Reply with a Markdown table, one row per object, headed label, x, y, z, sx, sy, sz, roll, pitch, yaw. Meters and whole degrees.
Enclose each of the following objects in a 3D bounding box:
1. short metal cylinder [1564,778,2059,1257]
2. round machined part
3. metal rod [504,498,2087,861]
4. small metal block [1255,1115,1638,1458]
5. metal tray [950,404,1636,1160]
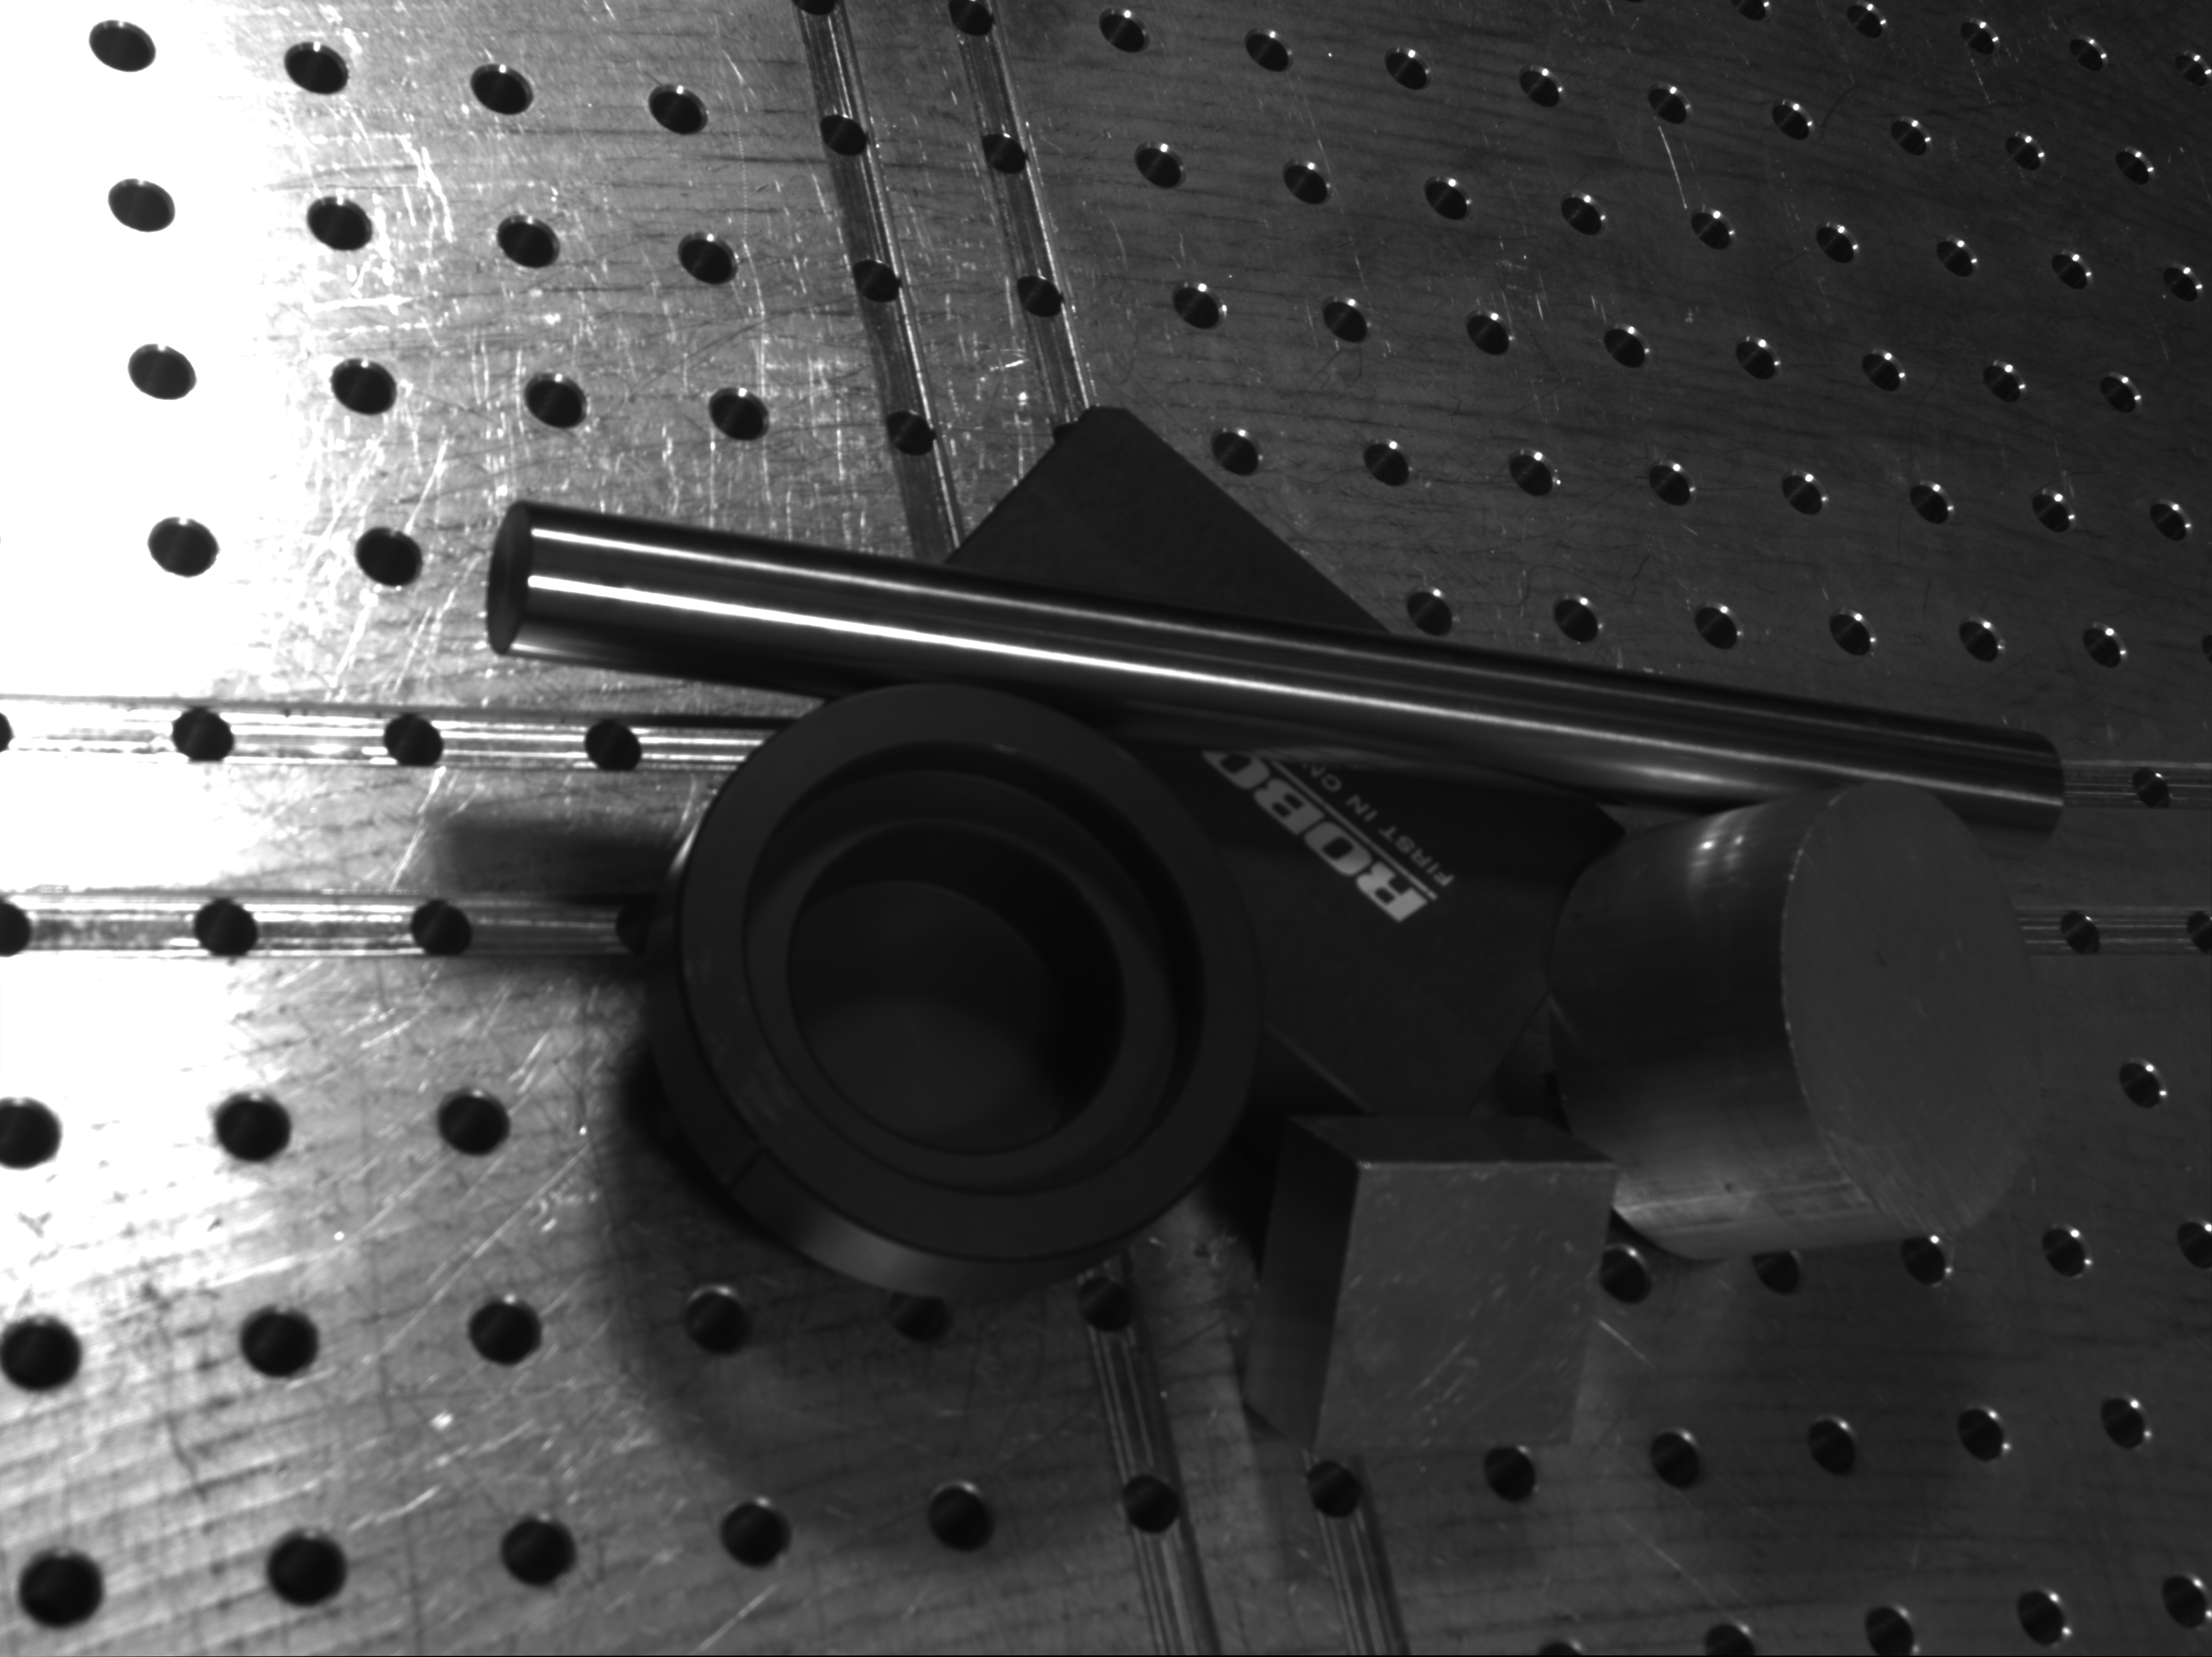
| label | x | y | z | sx | sy | sz | roll | pitch | yaw |
| --- | --- | --- | --- | --- | --- | --- | --- | --- | --- |
| short metal cylinder | 0.127 | 0.035 | 0.654 | 0.080 | 0.050 | 0.080 | 12 | 73 | -43 |
| round machined part | -0.025 | 0.029 | 0.595 | 0.098 | 0.042 | 0.098 | 9 | 65 | -19 |
| metal rod | 0.044 | -0.023 | 0.640 | 0.301 | 0.025 | 0.025 | 7 | 58 | -25 |
| small metal block | 0.057 | 0.076 | 0.610 | 0.050 | 0.025 | 0.050 | 3 | 103 | -27 |
| metal tray | 0.024 | -0.005 | 0.657 | 0.130 | 0.030 | 0.090 | 40 | 51 | -1 |
